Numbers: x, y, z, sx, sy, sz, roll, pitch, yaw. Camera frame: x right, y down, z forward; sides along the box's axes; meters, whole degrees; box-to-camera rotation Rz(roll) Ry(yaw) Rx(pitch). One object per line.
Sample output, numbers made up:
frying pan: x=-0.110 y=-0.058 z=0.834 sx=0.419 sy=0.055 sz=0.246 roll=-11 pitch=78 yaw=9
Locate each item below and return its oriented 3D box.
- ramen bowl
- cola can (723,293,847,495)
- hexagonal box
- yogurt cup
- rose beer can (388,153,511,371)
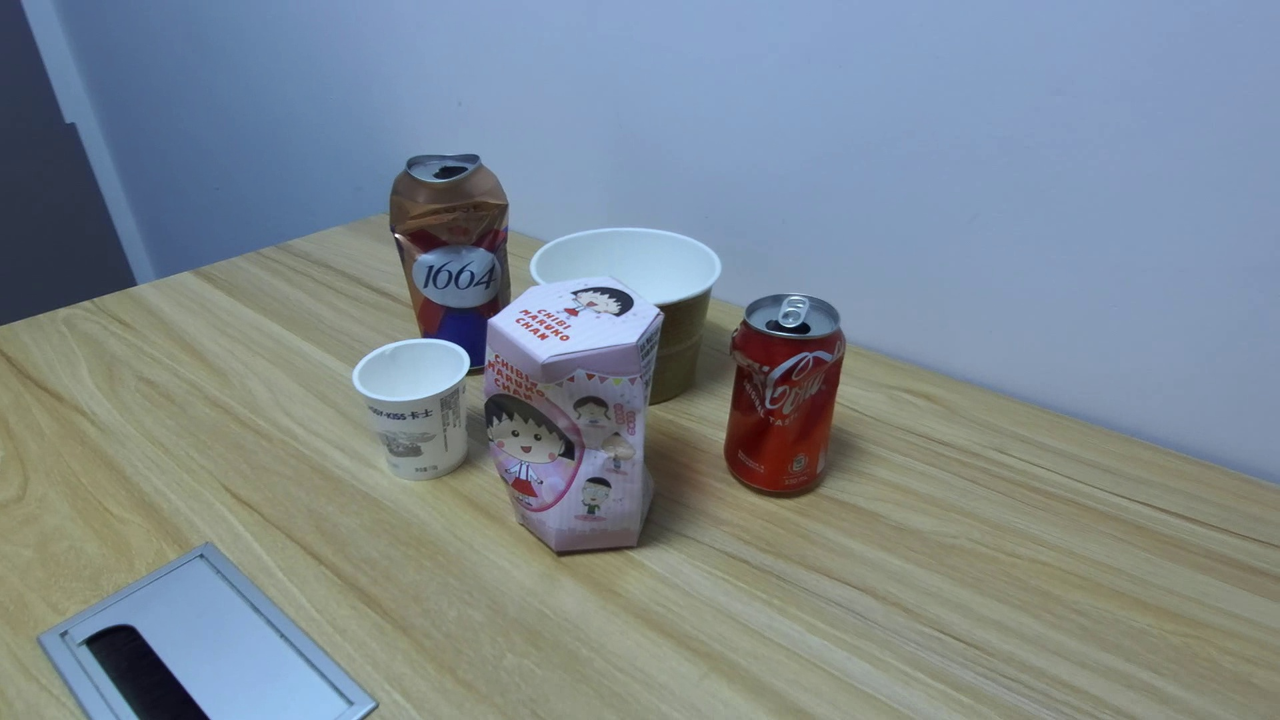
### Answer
ramen bowl: x=-0.011 y=-0.032 z=0.538 sx=0.140 sy=0.095 sz=0.140 roll=2 pitch=30 yaw=-1
cola can: x=0.087 y=0.020 z=0.430 sx=0.066 sy=0.117 sz=0.066 roll=-13 pitch=33 yaw=-22
hexagonal box: x=-0.035 y=0.031 z=0.396 sx=0.088 sy=0.135 sz=0.093 roll=6 pitch=32 yaw=9
yogurt cup: x=-0.140 y=0.034 z=0.451 sx=0.072 sy=0.068 sz=0.072 roll=0 pitch=31 yaw=0
rose beer can: x=-0.138 y=-0.070 z=0.533 sx=0.074 sy=0.162 sz=0.067 roll=-24 pitch=36 yaw=-35
